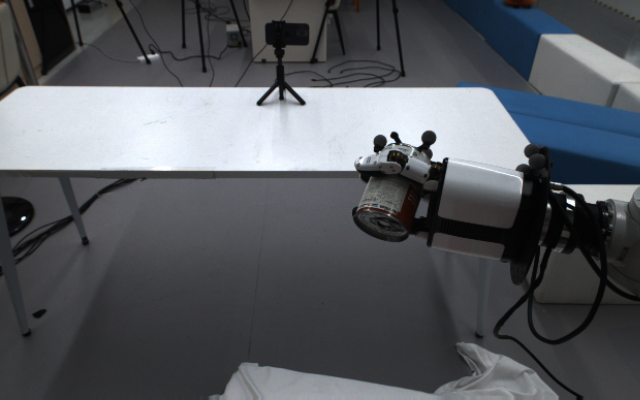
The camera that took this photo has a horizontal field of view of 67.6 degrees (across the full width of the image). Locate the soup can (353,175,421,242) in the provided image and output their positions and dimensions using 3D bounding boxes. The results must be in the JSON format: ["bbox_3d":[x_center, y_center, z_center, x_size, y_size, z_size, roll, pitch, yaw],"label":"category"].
[{"bbox_3d":[0.090,-0.012,0.584,0.067,0.067,0.101,15,62,18],"label":"soup can"}]
